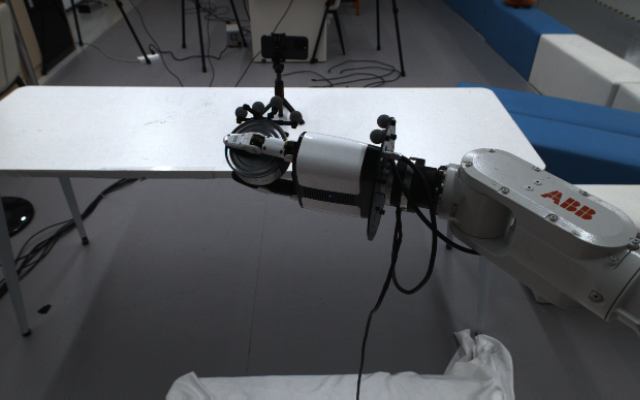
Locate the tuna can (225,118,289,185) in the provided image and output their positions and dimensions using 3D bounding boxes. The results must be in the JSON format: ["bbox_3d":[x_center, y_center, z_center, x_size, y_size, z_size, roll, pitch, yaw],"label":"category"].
[{"bbox_3d":[-0.082,-0.065,0.655,0.085,0.034,0.085,-3,68,8],"label":"tuna can"}]
